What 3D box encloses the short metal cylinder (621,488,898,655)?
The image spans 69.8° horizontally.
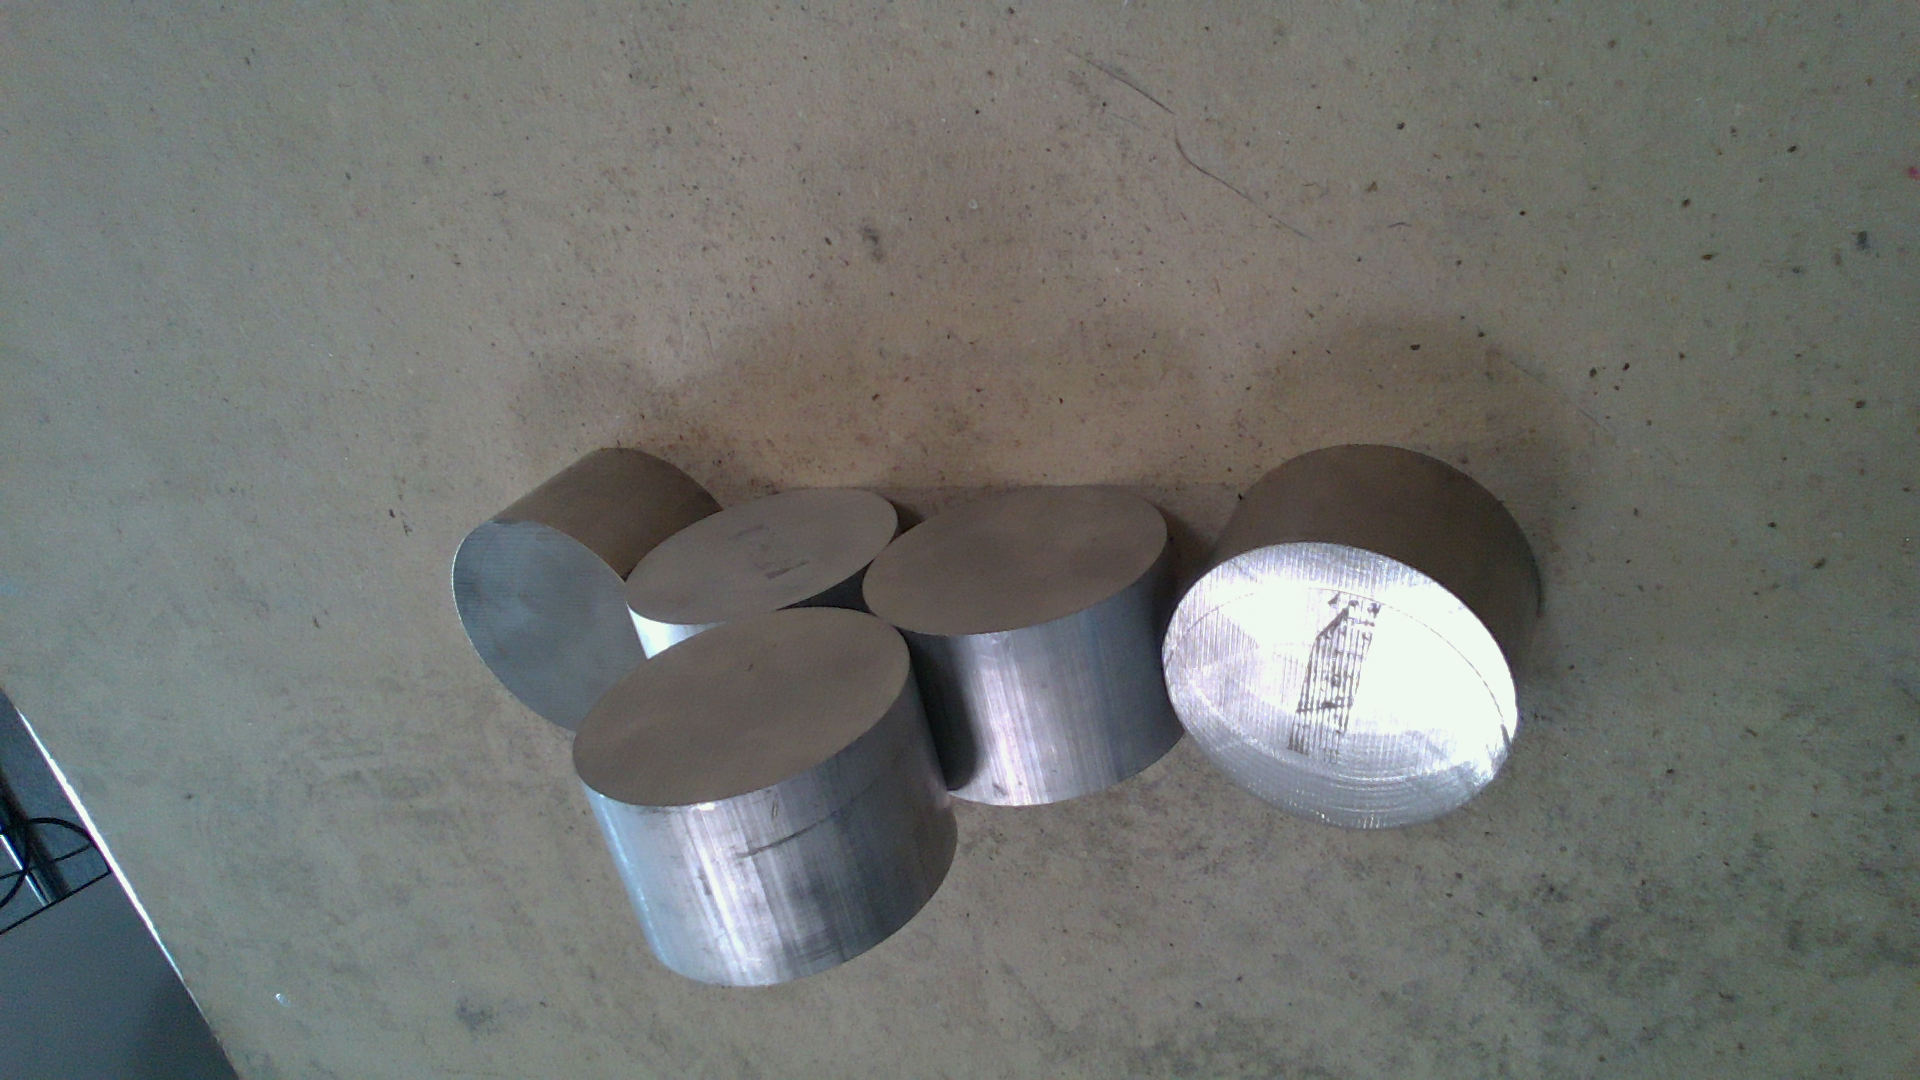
[{"bbox_3d":[-0.051,0.025,0.401,0.080,0.080,0.050,0,119,28],"label":"short metal cylinder"}]

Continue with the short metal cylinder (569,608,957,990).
[{"bbox_3d":[-0.045,0.059,0.328,0.080,0.080,0.050,1,120,28],"label":"short metal cylinder"}]

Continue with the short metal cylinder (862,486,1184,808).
[{"bbox_3d":[0.019,0.026,0.364,0.080,0.080,0.050,0,118,28],"label":"short metal cylinder"}]

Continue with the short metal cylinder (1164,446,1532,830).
[{"bbox_3d":[0.096,0.024,0.339,0.080,0.050,0.080,13,124,20],"label":"short metal cylinder"}]

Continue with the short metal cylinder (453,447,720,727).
[{"bbox_3d":[-0.116,0.017,0.449,0.080,0.050,0.080,13,124,21],"label":"short metal cylinder"}]
